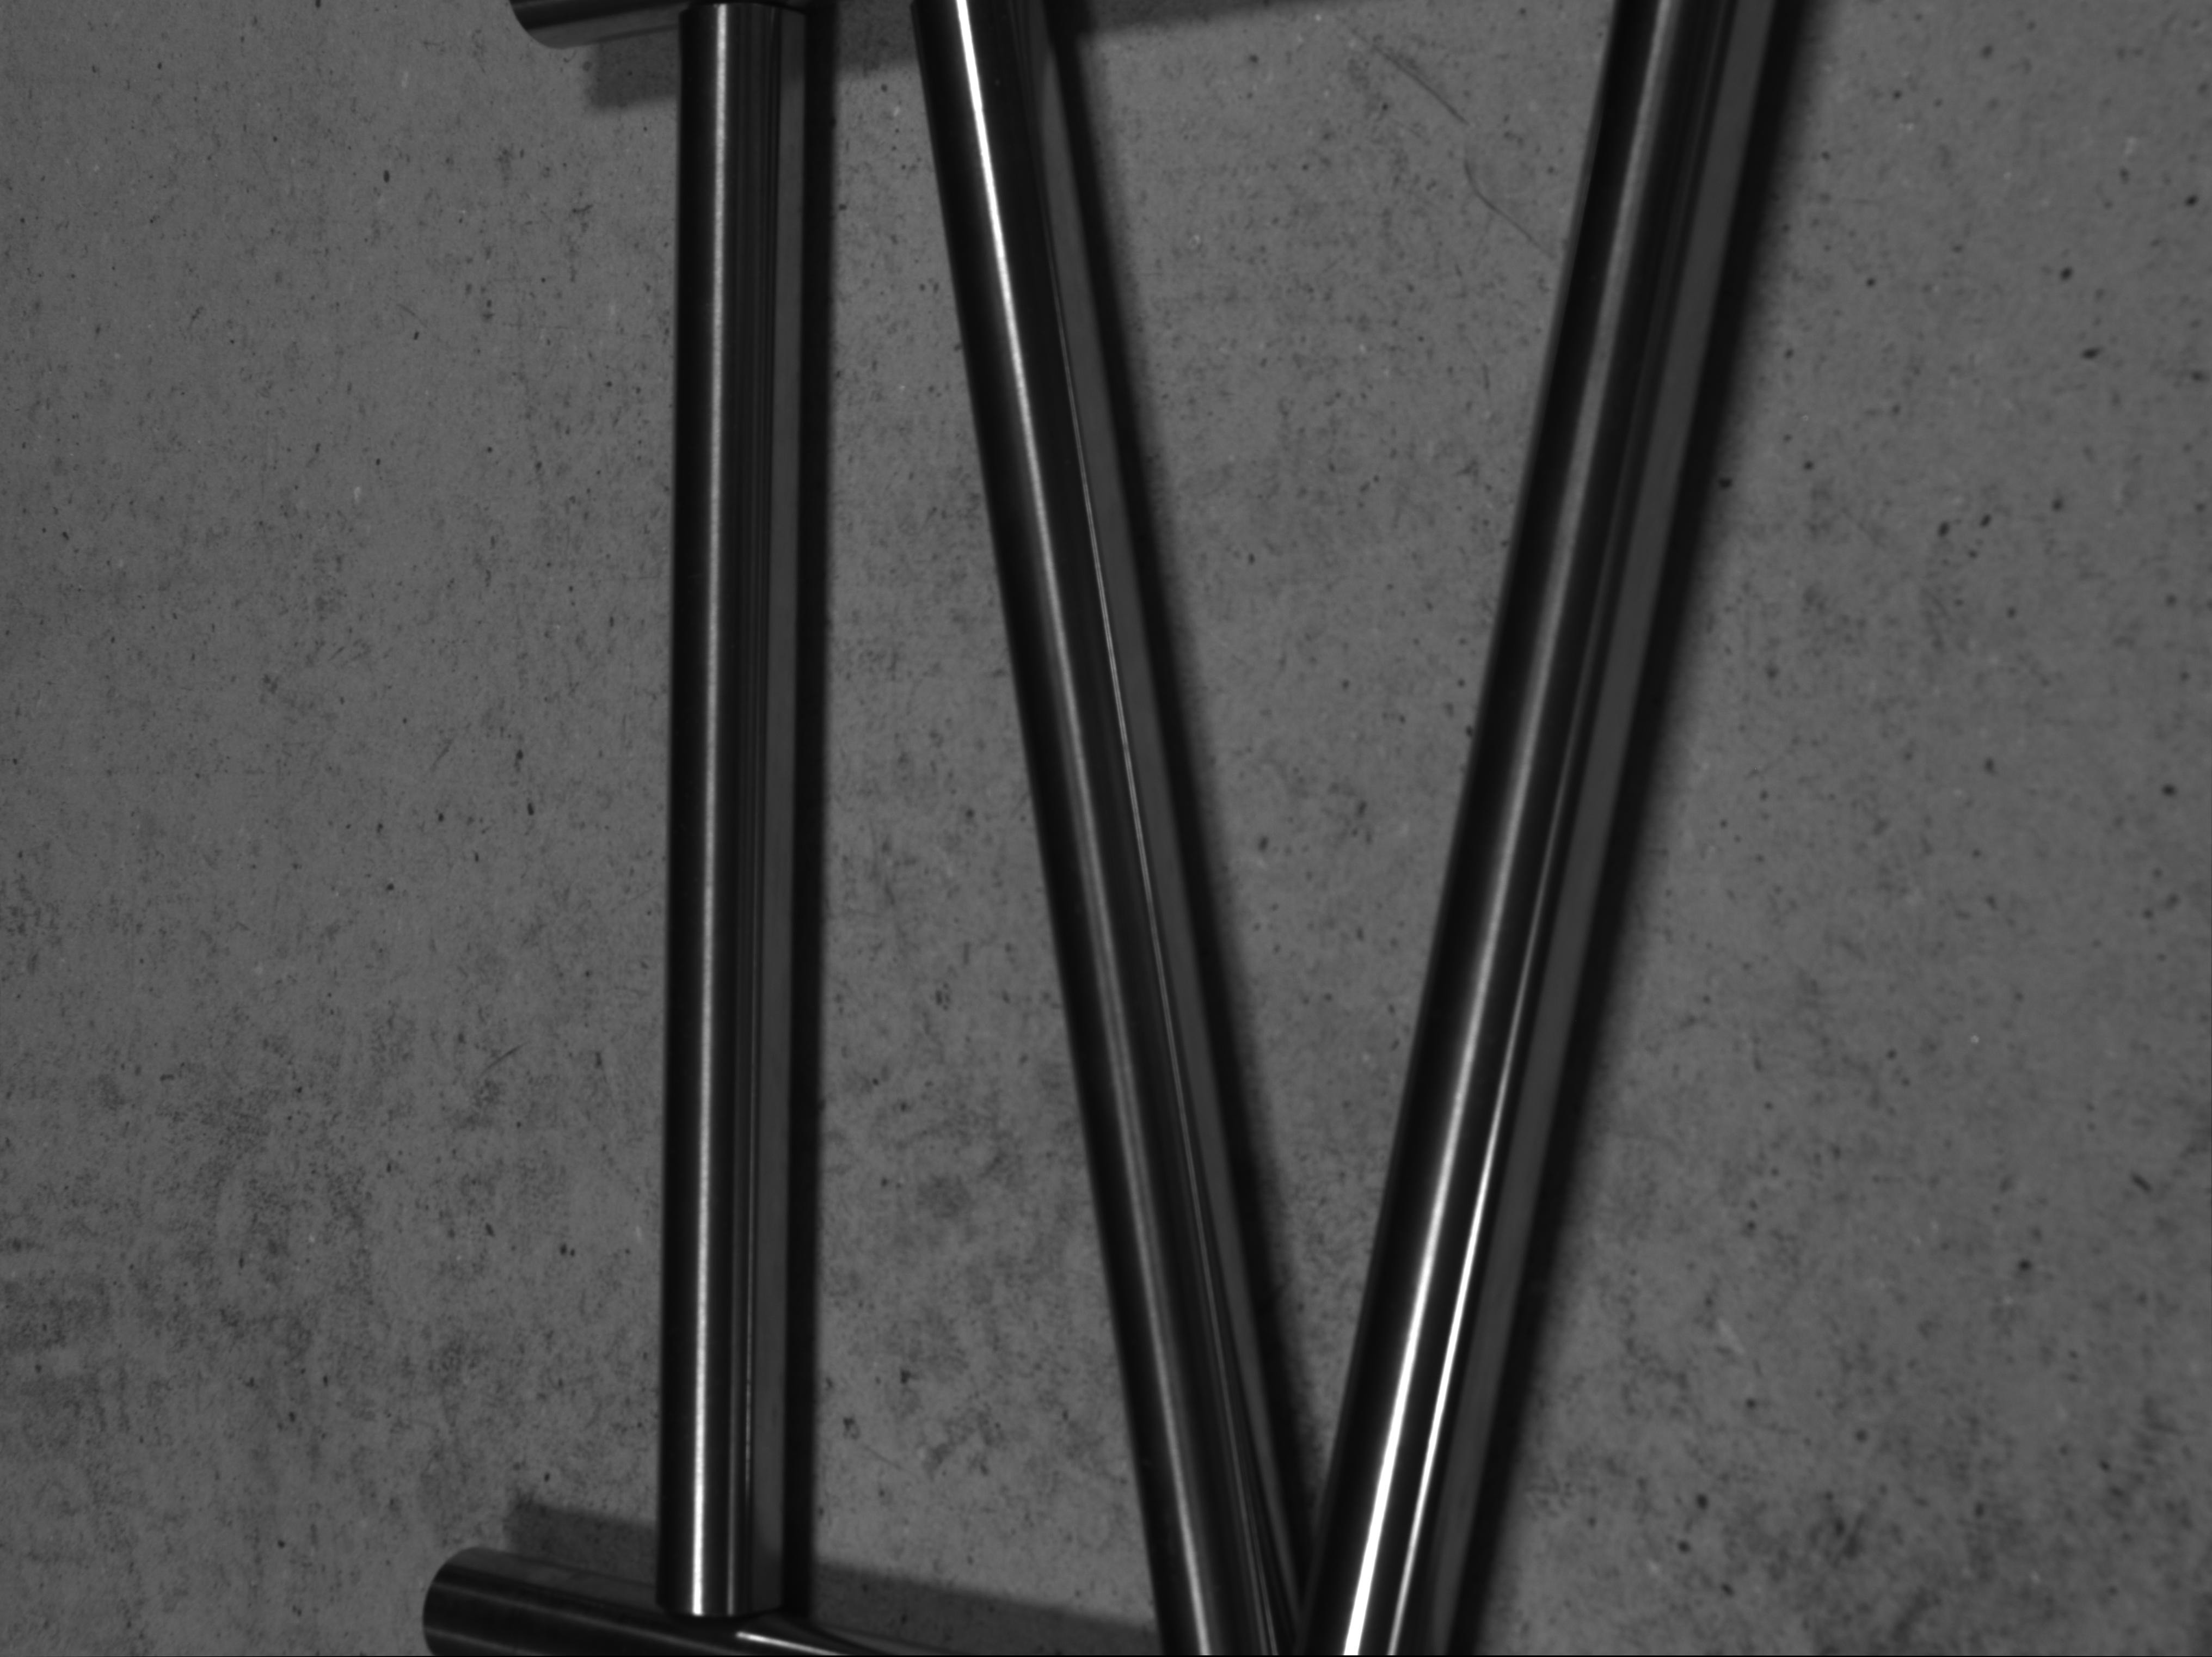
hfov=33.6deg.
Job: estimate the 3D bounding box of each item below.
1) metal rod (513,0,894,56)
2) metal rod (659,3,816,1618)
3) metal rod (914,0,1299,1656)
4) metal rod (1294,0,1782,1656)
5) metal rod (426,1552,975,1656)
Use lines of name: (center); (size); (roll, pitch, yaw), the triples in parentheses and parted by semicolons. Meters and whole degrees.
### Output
metal rod: (0.007, -0.163, 0.631); (0.299, 0.025, 0.025); (1, 91, 39)
metal rod: (-0.070, -0.003, 0.692); (0.025, 0.025, 0.300); (1, 91, 39)
metal rod: (0.000, -0.001, 0.635); (0.025, 0.025, 0.300); (-15, 81, 38)
metal rod: (0.068, -0.001, 0.580); (0.025, 0.025, 0.300); (17, 100, 38)
metal rod: (-0.012, 0.161, 0.645); (0.299, 0.025, 0.025); (1, 91, 39)
